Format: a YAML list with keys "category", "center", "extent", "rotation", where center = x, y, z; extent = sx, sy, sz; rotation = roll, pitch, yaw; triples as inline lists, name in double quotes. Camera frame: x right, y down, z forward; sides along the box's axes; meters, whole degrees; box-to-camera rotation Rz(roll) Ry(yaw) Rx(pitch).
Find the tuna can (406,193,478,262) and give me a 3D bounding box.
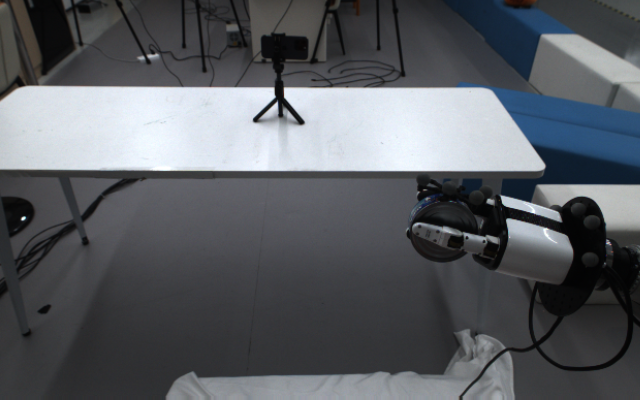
- category: "tuna can"
  center: [0.161, 0.033, 0.630]
  extent: [0.085, 0.085, 0.034]
  rotation: [5, 18, 4]
